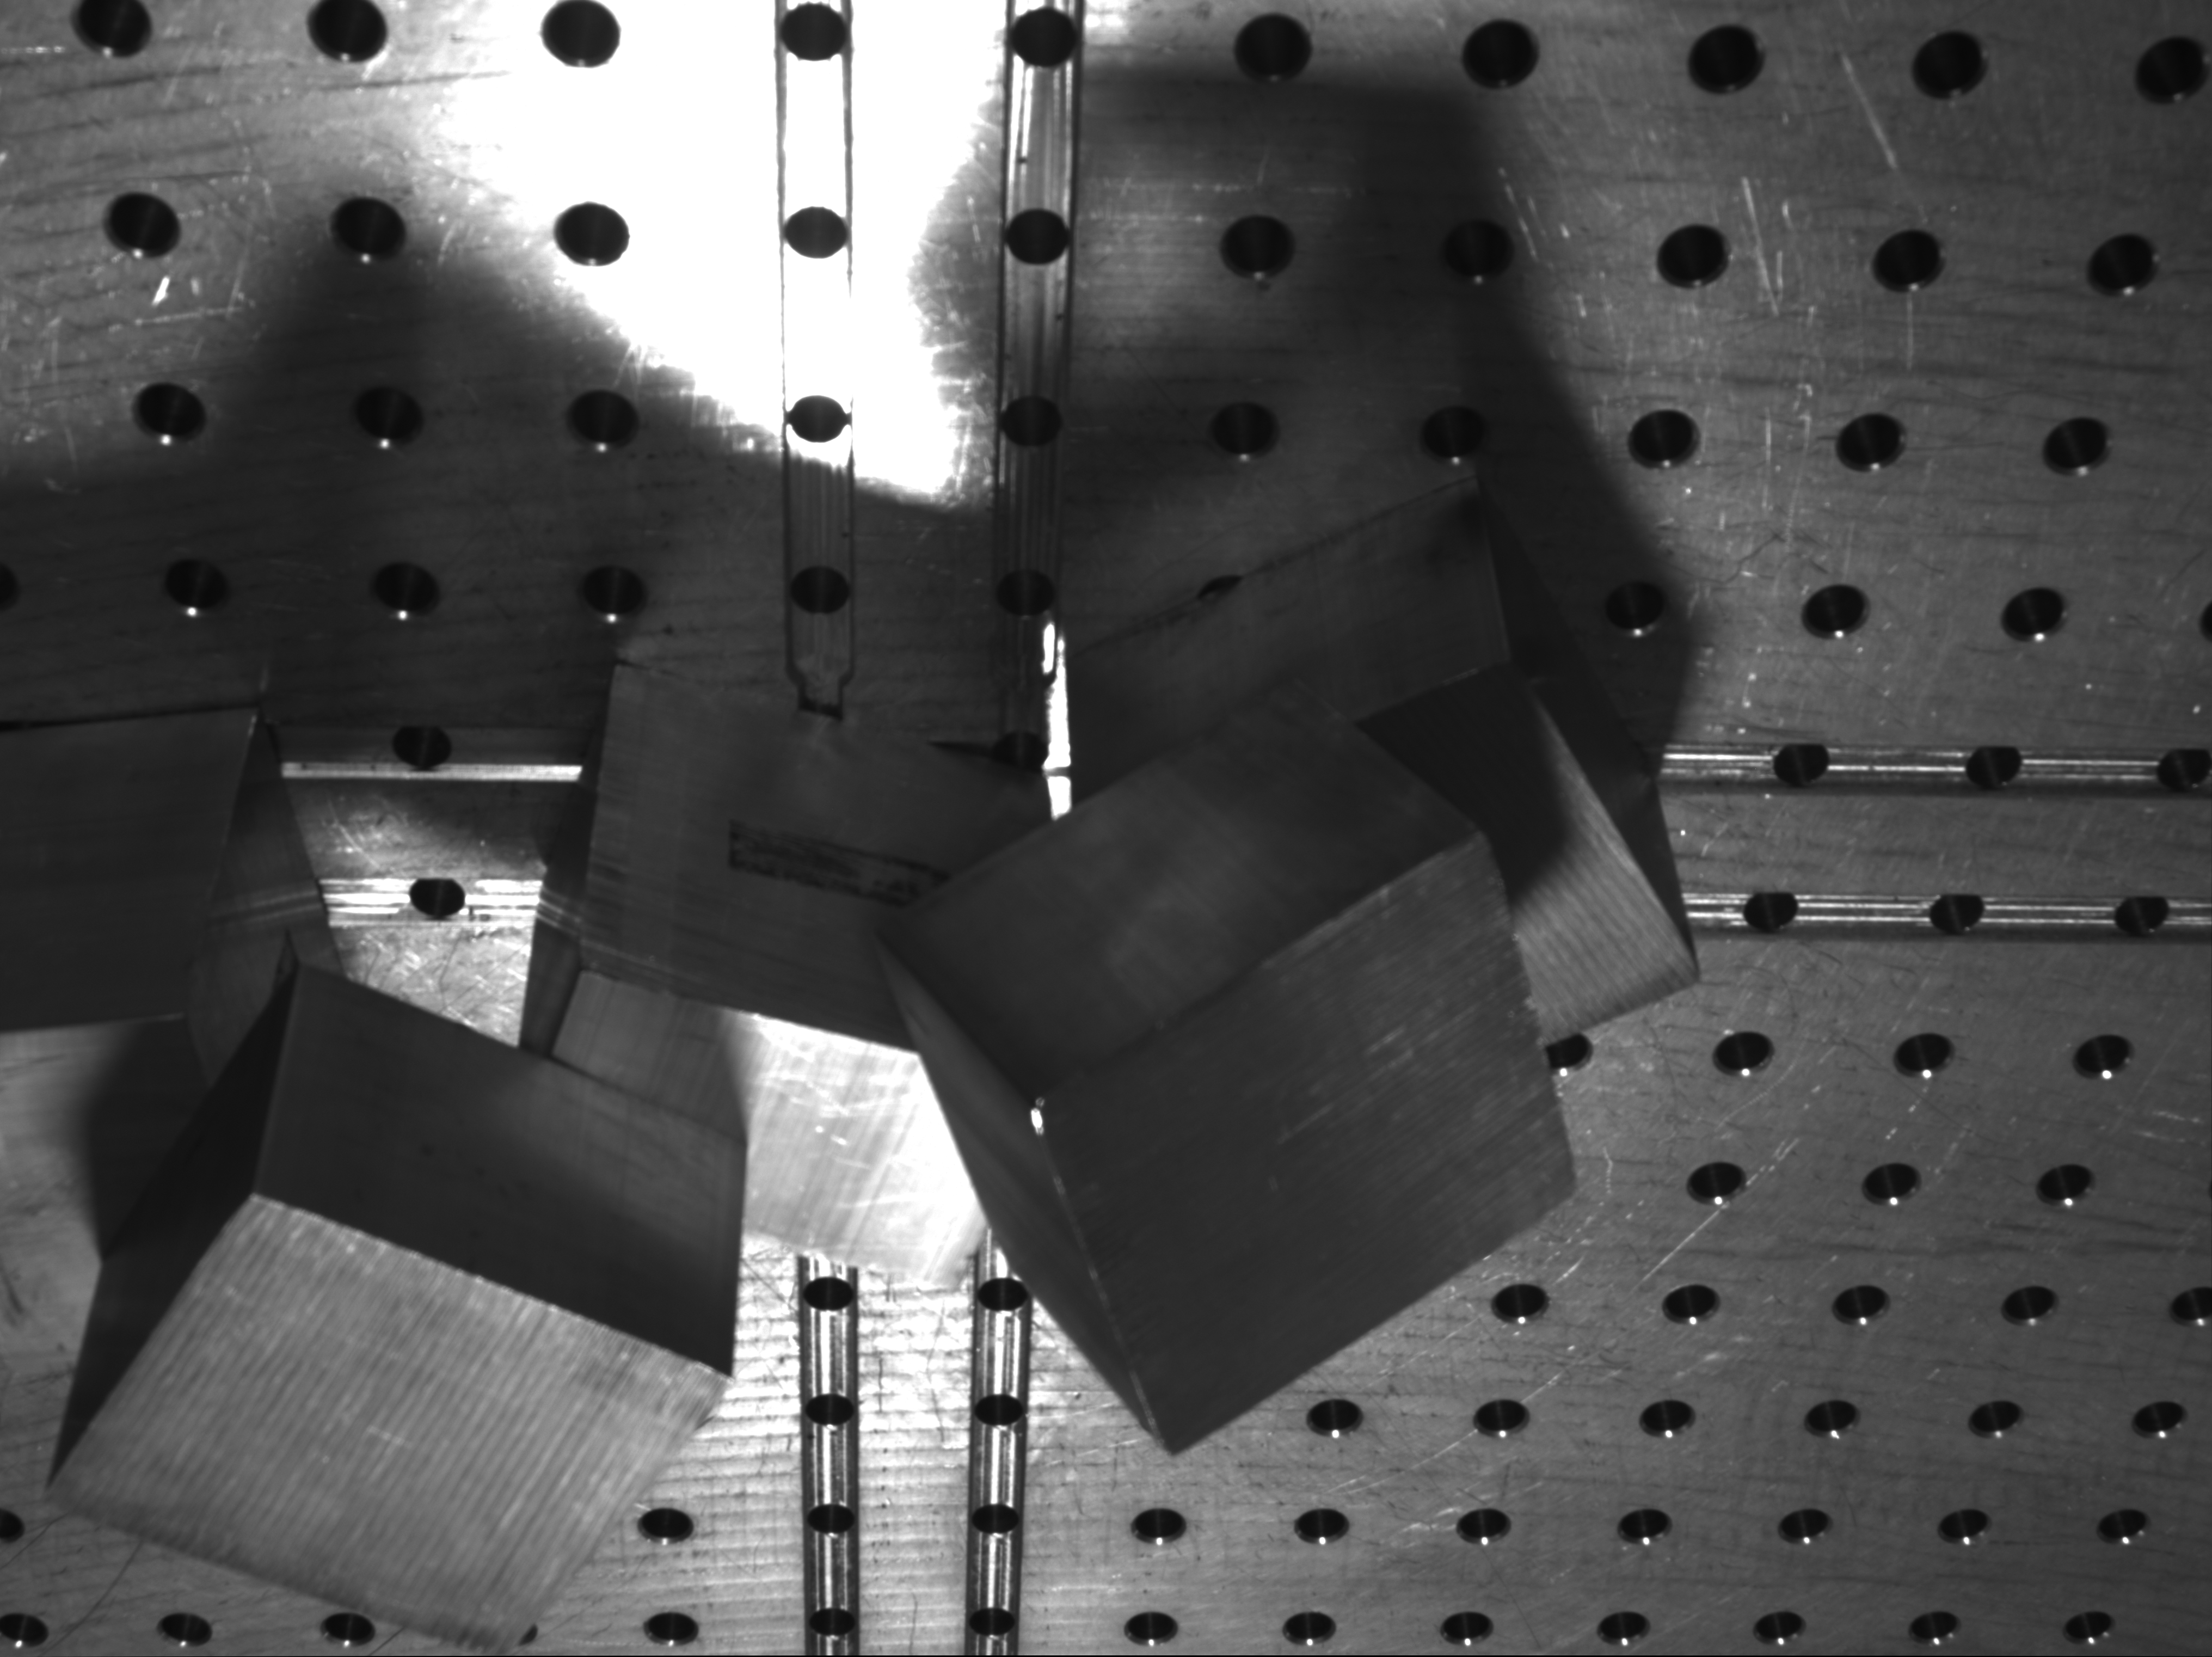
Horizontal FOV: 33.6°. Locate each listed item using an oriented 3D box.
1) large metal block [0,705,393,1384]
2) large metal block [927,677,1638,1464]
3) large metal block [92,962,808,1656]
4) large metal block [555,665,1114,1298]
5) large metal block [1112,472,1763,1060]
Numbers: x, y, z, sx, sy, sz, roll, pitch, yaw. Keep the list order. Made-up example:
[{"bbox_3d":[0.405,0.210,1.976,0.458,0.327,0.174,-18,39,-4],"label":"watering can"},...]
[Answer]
[{"bbox_3d":[-0.157,0.037,0.631,0.050,0.080,0.080,-5,130,2],"label":"large metal block"},{"bbox_3d":[0.029,0.037,0.568,0.080,0.050,0.080,-31,130,-14],"label":"large metal block"},{"bbox_3d":[-0.103,0.079,0.582,0.080,0.050,0.080,25,125,-21],"label":"large metal block"},{"bbox_3d":[-0.045,0.026,0.625,0.080,0.080,0.050,15,128,-14],"label":"large metal block"},{"bbox_3d":[0.056,-0.001,0.626,0.080,0.050,0.080,-24,127,17],"label":"large metal block"}]
